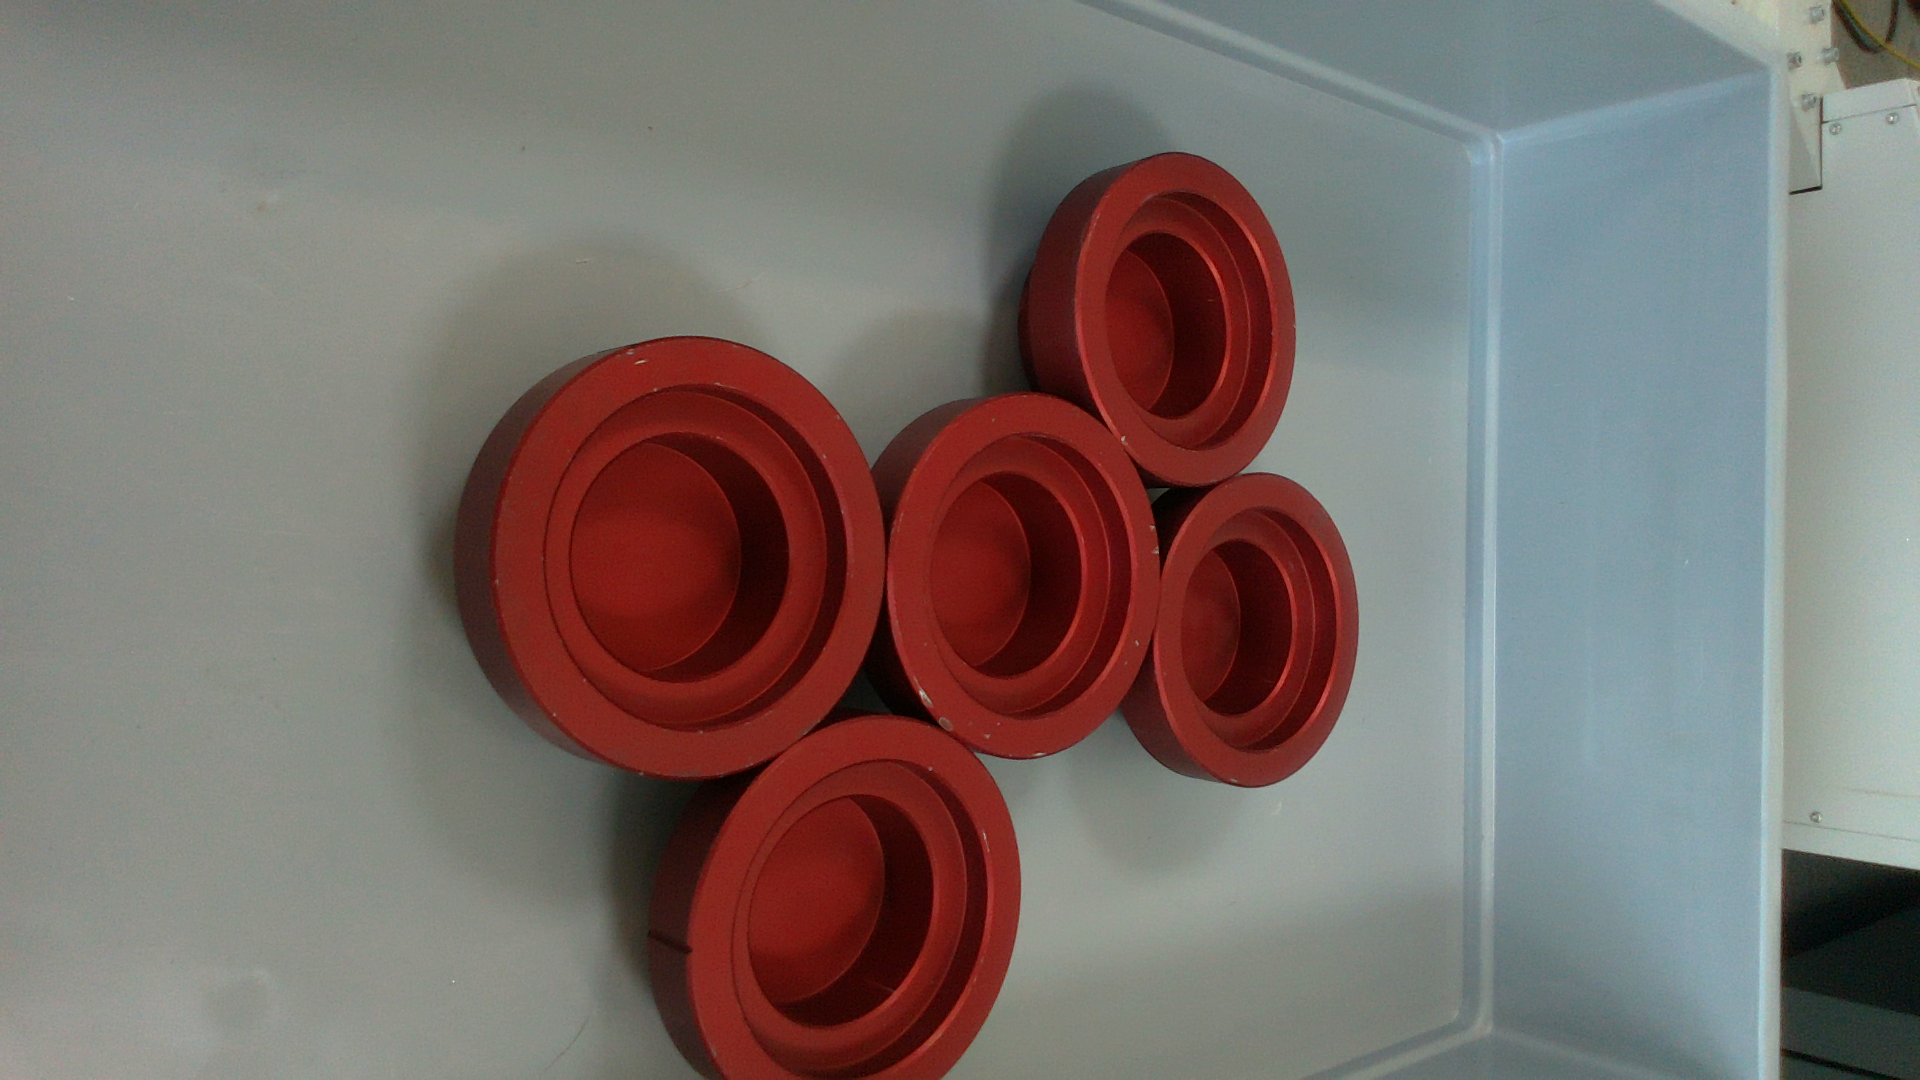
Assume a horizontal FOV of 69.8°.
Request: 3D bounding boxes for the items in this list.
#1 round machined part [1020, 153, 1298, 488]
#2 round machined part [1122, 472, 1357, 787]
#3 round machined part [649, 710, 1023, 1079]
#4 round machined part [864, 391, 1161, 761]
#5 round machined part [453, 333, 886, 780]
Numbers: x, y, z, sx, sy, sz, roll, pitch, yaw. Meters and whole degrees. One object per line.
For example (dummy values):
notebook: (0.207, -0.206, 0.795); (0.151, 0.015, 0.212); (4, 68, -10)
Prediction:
round machined part: (0.057, -0.065, 0.423); (0.098, 0.042, 0.098); (0, 90, -40)
round machined part: (0.082, 0.028, 0.443); (0.098, 0.042, 0.098); (0, 90, -40)
round machined part: (-0.034, 0.091, 0.346); (0.098, 0.042, 0.098); (0, 90, -40)
round machined part: (0.008, 0.009, 0.380); (0.098, 0.042, 0.098); (0, 90, -40)
round machined part: (-0.068, 0.004, 0.318); (0.098, 0.042, 0.098); (0, 90, -40)
